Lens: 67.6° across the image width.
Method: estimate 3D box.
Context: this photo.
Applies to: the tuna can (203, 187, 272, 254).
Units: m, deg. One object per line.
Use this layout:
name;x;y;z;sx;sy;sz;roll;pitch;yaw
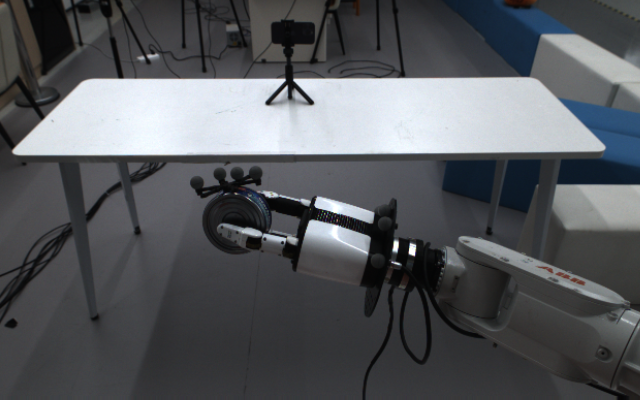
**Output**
tuna can;-0.105;0.033;0.628;0.085;0.085;0.034;6;18;6
